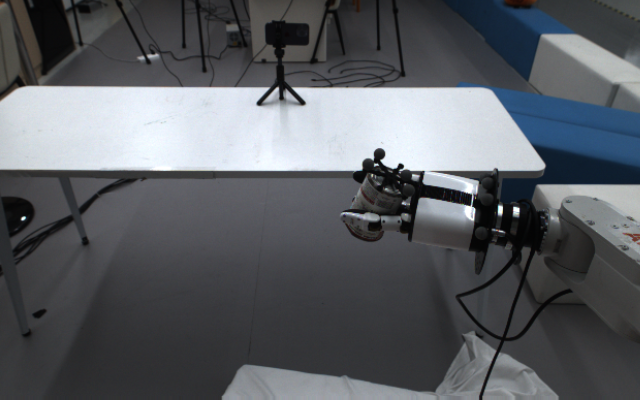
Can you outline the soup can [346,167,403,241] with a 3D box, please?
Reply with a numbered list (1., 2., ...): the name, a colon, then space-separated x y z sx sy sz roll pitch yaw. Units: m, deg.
1. soup can: 0.086 0.006 0.745 0.067 0.101 0.067 14 39 -12
